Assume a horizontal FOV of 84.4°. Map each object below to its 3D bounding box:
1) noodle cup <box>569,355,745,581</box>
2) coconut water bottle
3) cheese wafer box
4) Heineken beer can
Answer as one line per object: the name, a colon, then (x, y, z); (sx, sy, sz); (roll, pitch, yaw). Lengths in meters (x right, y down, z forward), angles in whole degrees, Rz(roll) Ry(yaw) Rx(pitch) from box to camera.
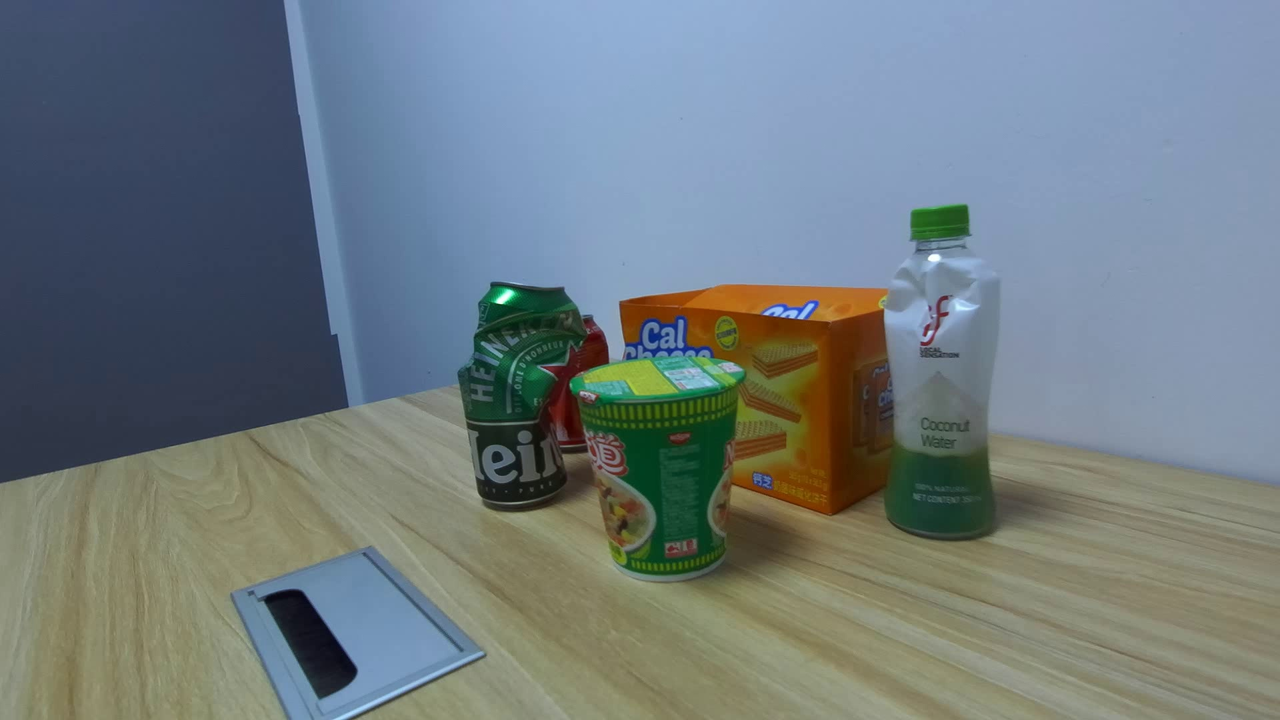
noodle cup: (0.013, 0.060, 0.403); (0.097, 0.110, 0.097); (-4, 14, 1)
coconut water bottle: (0.174, 0.007, 0.413); (0.069, 0.186, 0.069); (-5, 10, 1)
cheese wafer box: (0.097, 0.015, 0.559); (0.153, 0.132, 0.229); (-14, 17, -39)
Heineken beer can: (-0.085, 0.026, 0.508); (0.067, 0.159, 0.079); (5, 7, 28)
